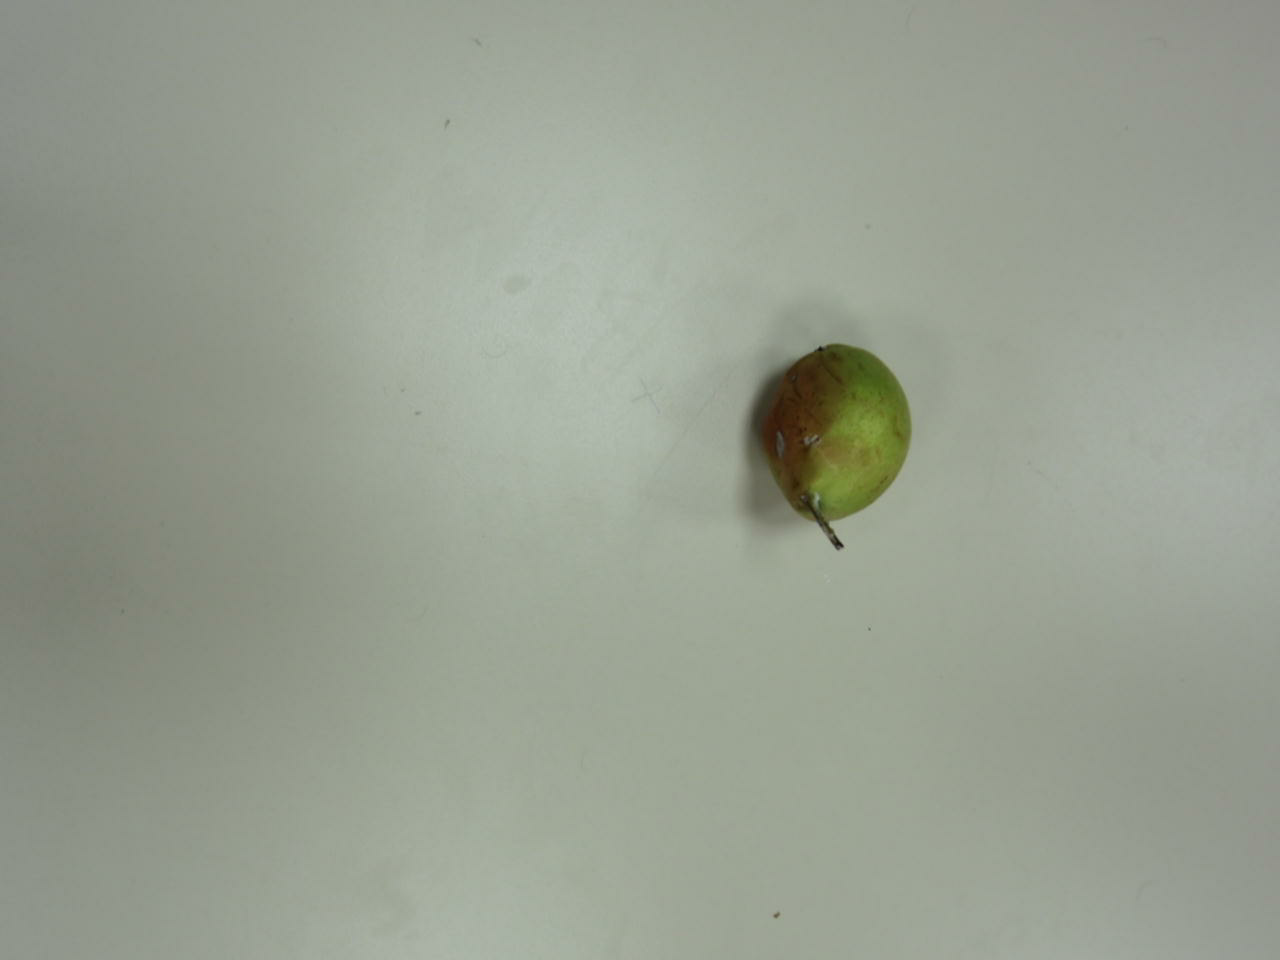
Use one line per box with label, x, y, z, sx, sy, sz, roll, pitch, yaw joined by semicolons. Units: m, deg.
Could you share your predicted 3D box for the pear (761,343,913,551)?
pear;0.081;-0.020;0.417;0.070;0.069;0.068;-30;96;-10
